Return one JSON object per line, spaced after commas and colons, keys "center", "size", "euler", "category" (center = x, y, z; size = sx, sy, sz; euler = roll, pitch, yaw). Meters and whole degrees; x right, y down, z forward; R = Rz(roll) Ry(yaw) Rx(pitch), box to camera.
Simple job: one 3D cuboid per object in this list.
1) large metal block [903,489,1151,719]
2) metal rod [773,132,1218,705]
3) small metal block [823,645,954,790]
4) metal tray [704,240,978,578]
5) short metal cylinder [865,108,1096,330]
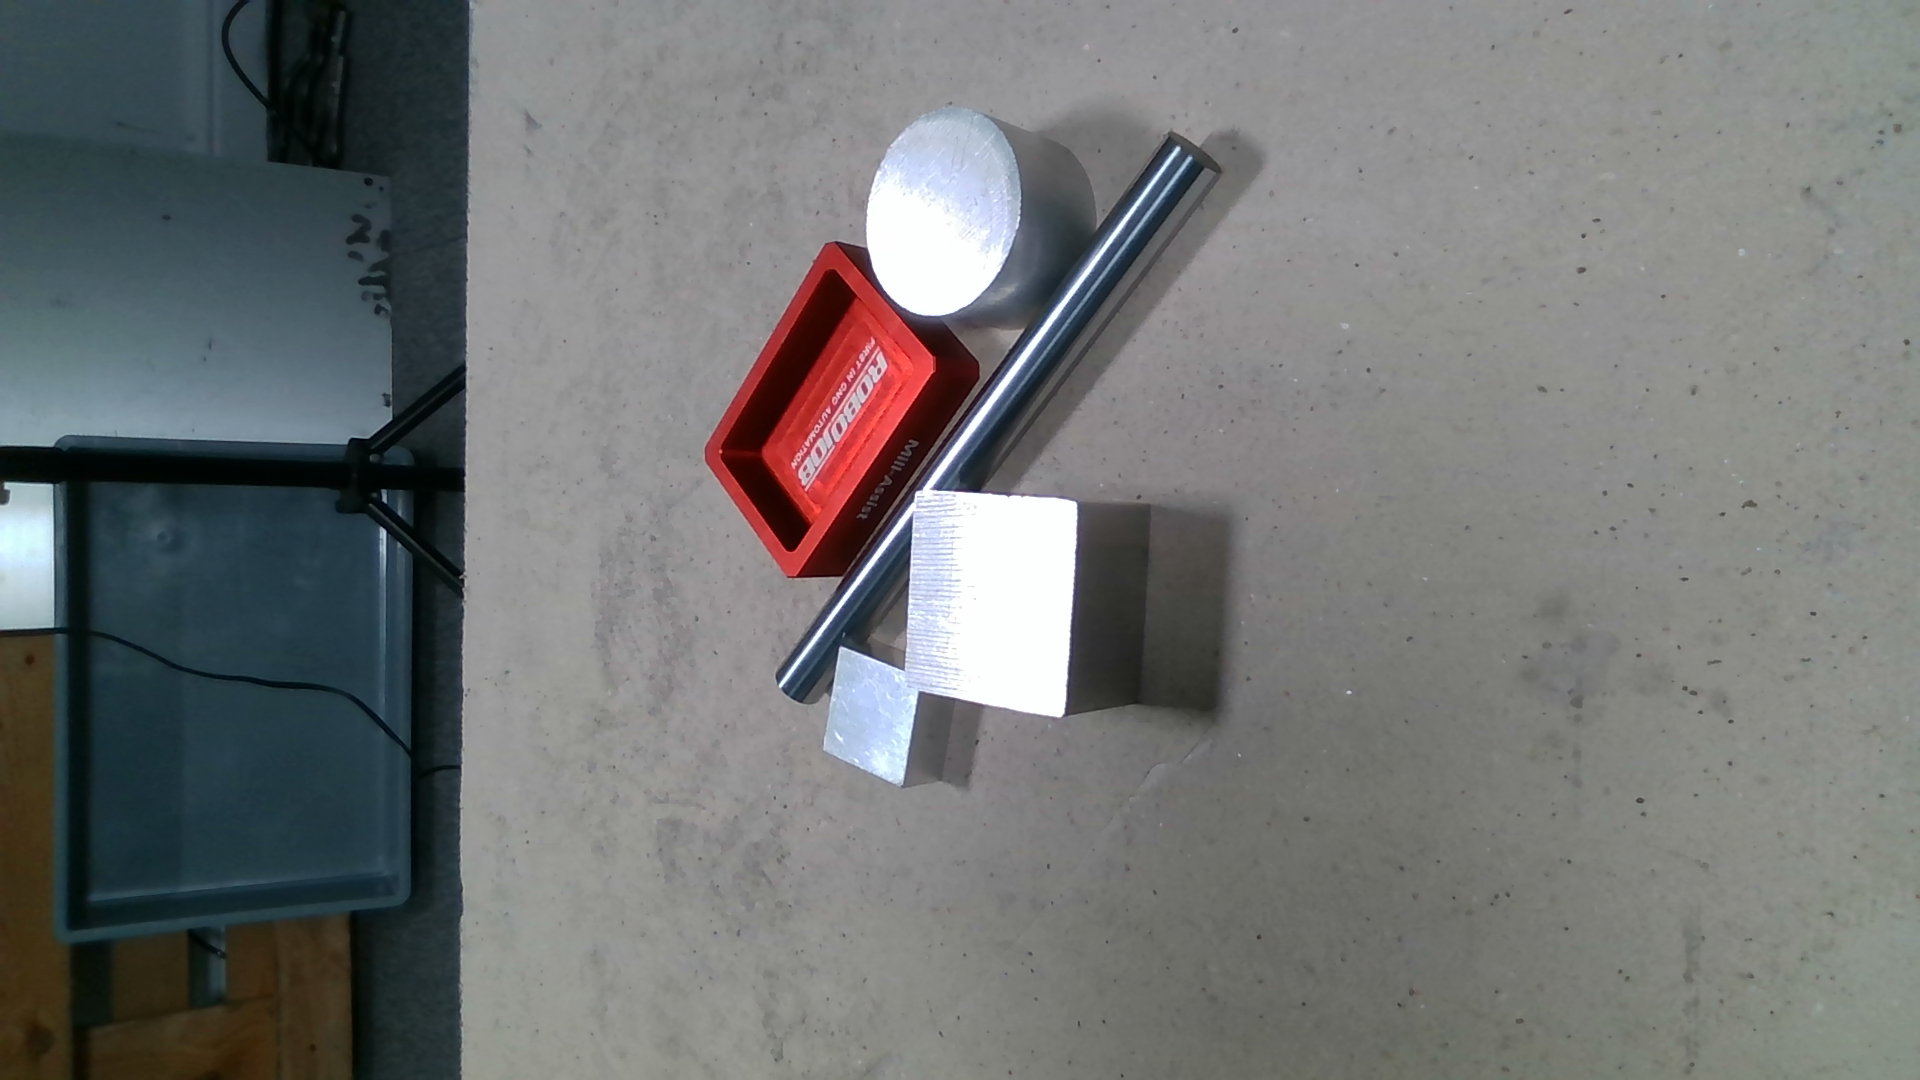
{"center": [0.026, 0.022, 0.544], "size": [0.080, 0.050, 0.080], "euler": [6, 94, 40], "category": "large metal block"}
{"center": [0.004, -0.037, 0.577], "size": [0.301, 0.025, 0.025], "euler": [-52, 59, 28], "category": "metal rod"}
{"center": [-0.031, 0.077, 0.610], "size": [0.050, 0.025, 0.050], "euler": [17, 101, 39], "category": "small metal block"}
{"center": [-0.058, -0.057, 0.627], "size": [0.090, 0.030, 0.130], "euler": [52, 121, 27], "category": "metal tray"}
{"center": [0.008, -0.128, 0.558], "size": [0.080, 0.050, 0.080], "euler": [0, 91, 40], "category": "short metal cylinder"}
